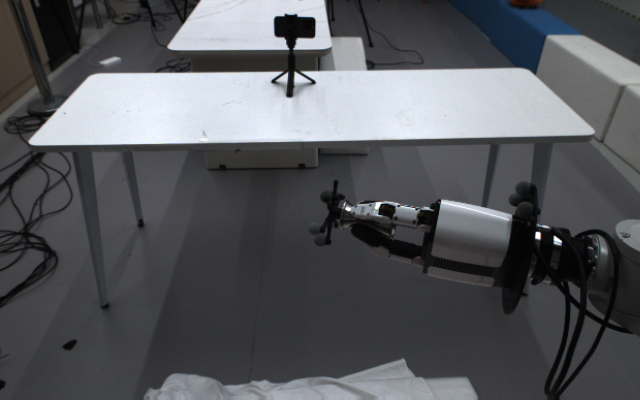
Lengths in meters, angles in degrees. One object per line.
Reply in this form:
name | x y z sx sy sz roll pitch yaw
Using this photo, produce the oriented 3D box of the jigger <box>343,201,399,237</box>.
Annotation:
jigger | 0.070 0.020 0.630 0.071 0.043 0.043 9 35 16
